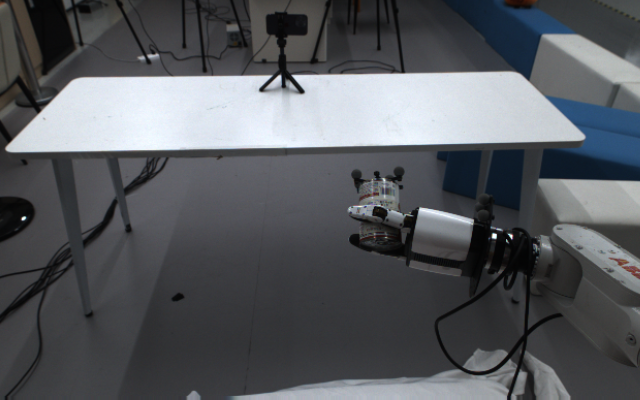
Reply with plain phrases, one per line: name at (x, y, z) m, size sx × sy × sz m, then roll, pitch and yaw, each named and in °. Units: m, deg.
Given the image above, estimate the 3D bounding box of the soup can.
soup can at (0.096, 0.024, 0.775) m, size 0.067 × 0.067 × 0.101 m, roll 2°, pitch 68°, yaw 0°
